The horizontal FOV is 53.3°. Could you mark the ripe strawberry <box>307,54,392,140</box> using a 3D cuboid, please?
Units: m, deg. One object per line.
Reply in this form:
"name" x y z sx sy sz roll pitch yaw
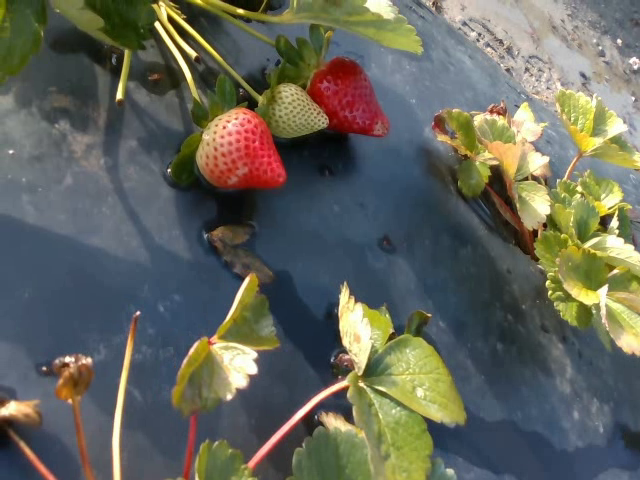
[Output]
"ripe strawberry" 0.020 -0.081 0.376 0.065 0.048 0.050 46 -2 -9
